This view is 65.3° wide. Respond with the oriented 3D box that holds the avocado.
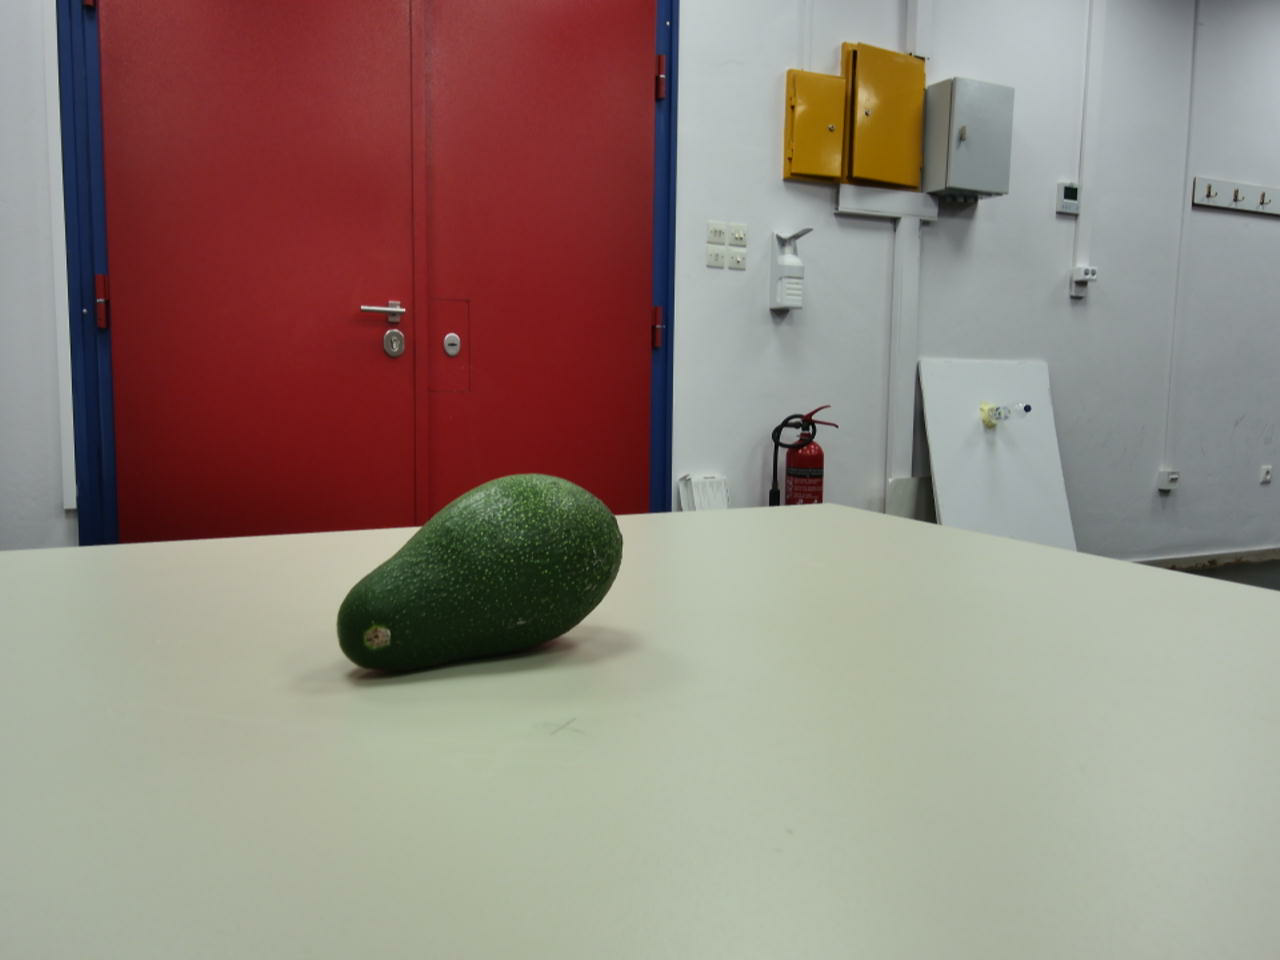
[{"bbox_3d":[-0.066,0.035,0.424,0.123,0.076,0.074,-2,4,-20],"label":"avocado"}]
